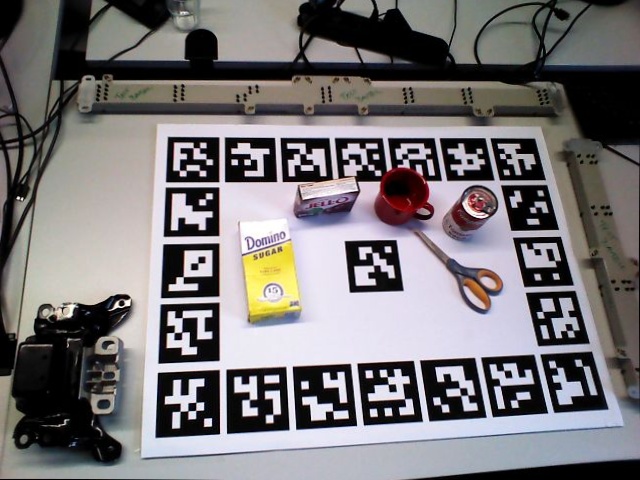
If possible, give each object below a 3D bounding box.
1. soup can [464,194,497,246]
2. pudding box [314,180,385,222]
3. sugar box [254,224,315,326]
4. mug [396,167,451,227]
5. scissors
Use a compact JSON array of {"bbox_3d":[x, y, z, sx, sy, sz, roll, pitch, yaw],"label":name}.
[{"bbox_3d":[0.316,-0.037,0.973,0.068,0.102,0.067,2,68,-6],"label":"soup can"},{"bbox_3d":[0.051,-0.072,0.948,0.114,0.090,0.038,-10,78,-11],"label":"pudding box"},{"bbox_3d":[-0.064,0.059,0.917,0.093,0.045,0.175,-4,72,-7],"label":"sugar box"},{"bbox_3d":[0.198,-0.072,0.974,0.093,0.082,0.117,-37,77,-16],"label":"mug"},{"bbox_3d":[0.295,0.065,0.969,0.203,0.016,0.087,44,80,9],"label":"scissors"}]
